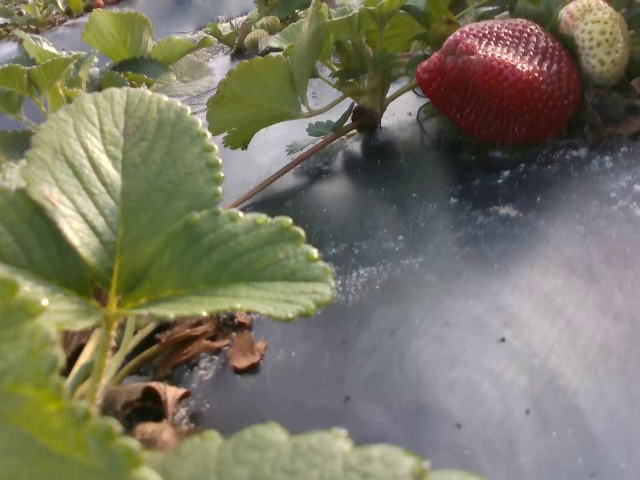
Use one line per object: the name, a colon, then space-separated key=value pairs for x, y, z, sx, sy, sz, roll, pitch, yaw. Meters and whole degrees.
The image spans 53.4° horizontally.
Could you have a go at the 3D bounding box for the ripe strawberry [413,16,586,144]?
ripe strawberry: x=0.067 y=-0.061 z=0.242 sx=0.070 sy=0.058 sz=0.057 roll=9 pitch=-47 yaw=-38
